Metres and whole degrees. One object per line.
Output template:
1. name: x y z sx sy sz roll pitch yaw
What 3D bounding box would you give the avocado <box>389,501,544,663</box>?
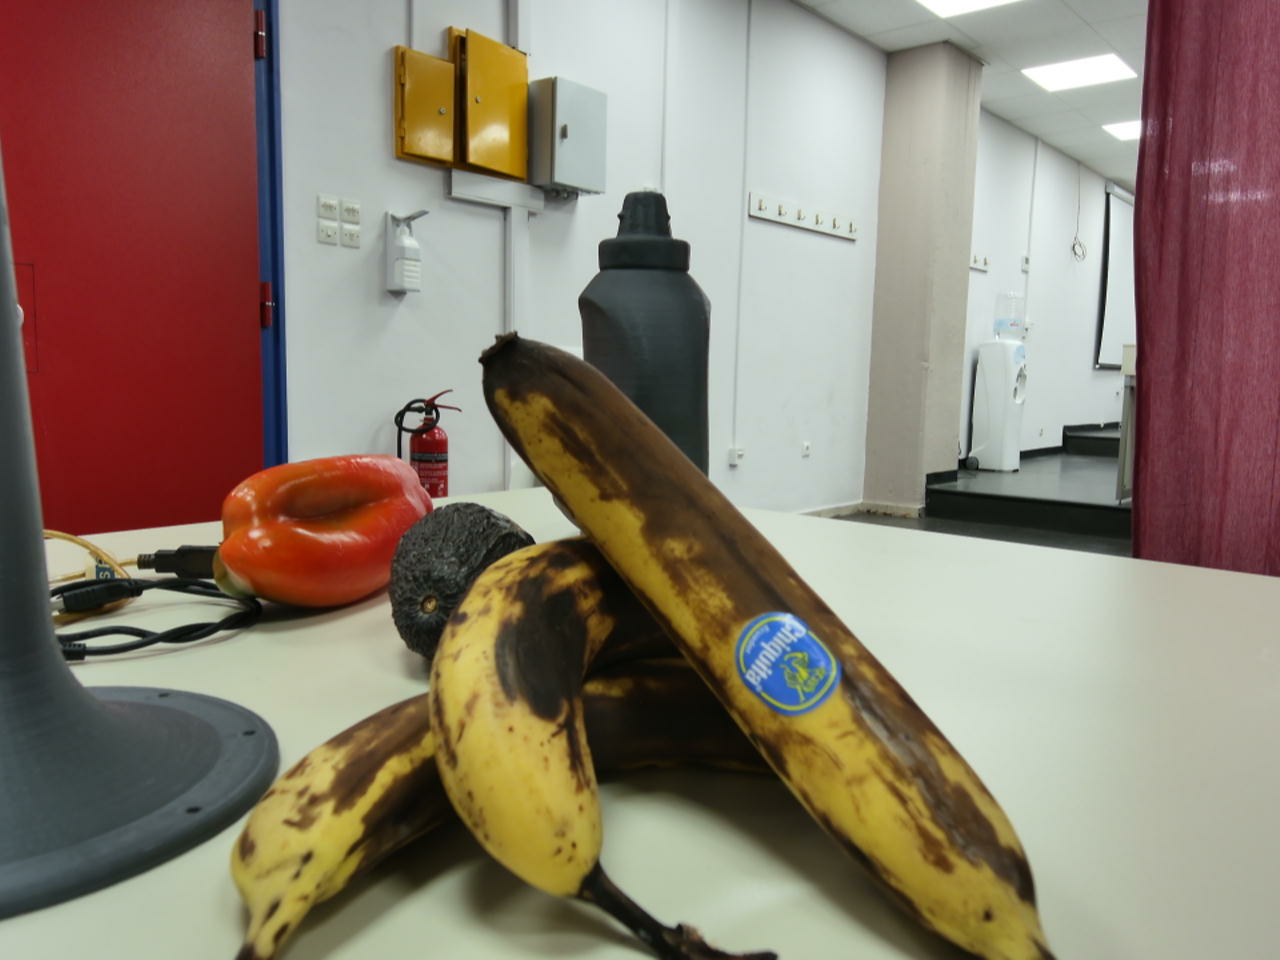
1. avocado: -0.074 0.041 0.410 0.062 0.062 0.092 2 5 16
